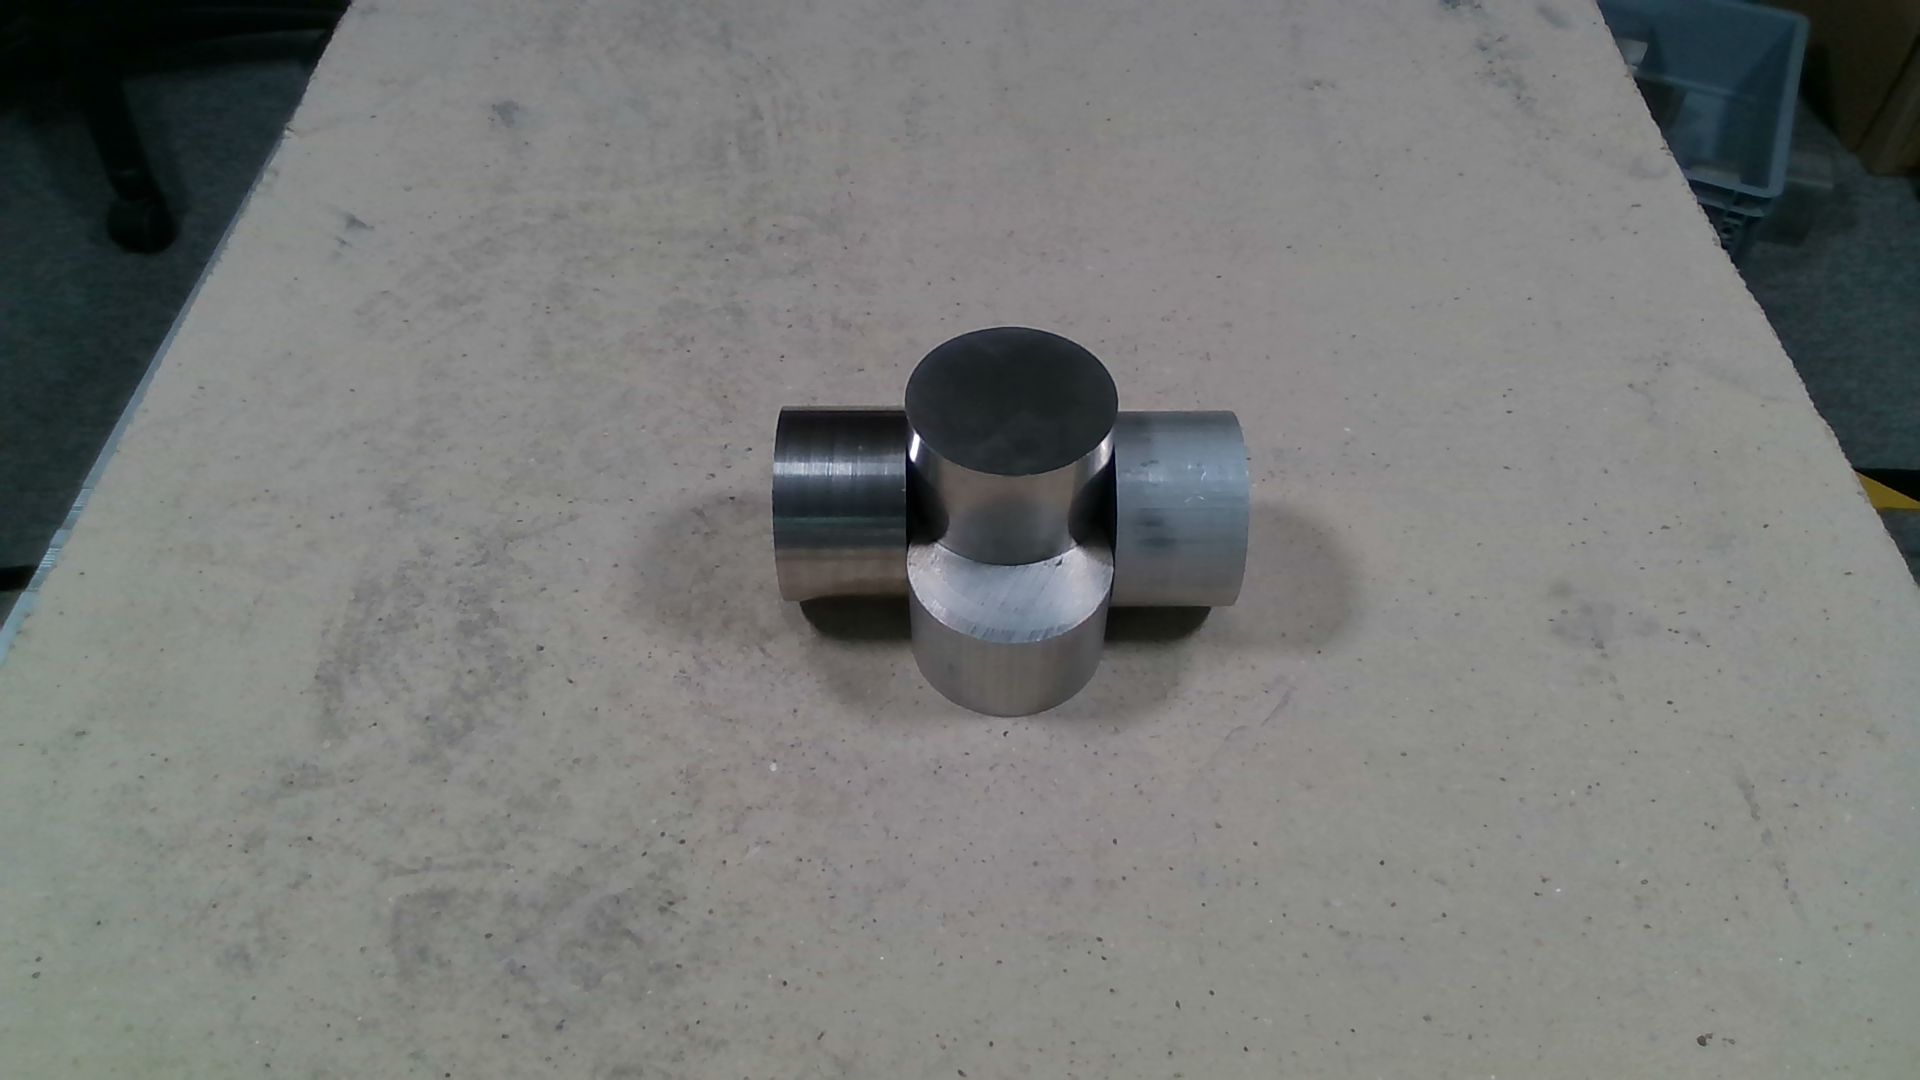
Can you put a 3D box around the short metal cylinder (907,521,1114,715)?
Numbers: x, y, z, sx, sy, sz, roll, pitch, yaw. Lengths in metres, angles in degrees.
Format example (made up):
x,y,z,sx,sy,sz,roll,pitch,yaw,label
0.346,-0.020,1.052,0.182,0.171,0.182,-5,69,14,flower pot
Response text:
x,y,z,sx,sy,sz,roll,pitch,yaw,label
0.019,0.023,0.552,0.080,0.050,0.080,0,50,0,short metal cylinder

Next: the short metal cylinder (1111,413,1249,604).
x,y,z,sx,sy,sz,roll,pitch,yaw,label
0.085,-0.013,0.563,0.050,0.080,0.080,0,50,0,short metal cylinder

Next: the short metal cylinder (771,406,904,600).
x,y,z,sx,sy,sz,roll,pitch,yaw,label
-0.047,-0.015,0.565,0.050,0.080,0.080,0,50,0,short metal cylinder

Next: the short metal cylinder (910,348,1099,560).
x,y,z,sx,sy,sz,roll,pitch,yaw,label
0.019,-0.038,0.602,0.080,0.050,0.080,0,50,0,short metal cylinder

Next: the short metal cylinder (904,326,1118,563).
x,y,z,sx,sy,sz,roll,pitch,yaw,label
0.019,-0.038,0.536,0.080,0.050,0.080,0,50,0,short metal cylinder
